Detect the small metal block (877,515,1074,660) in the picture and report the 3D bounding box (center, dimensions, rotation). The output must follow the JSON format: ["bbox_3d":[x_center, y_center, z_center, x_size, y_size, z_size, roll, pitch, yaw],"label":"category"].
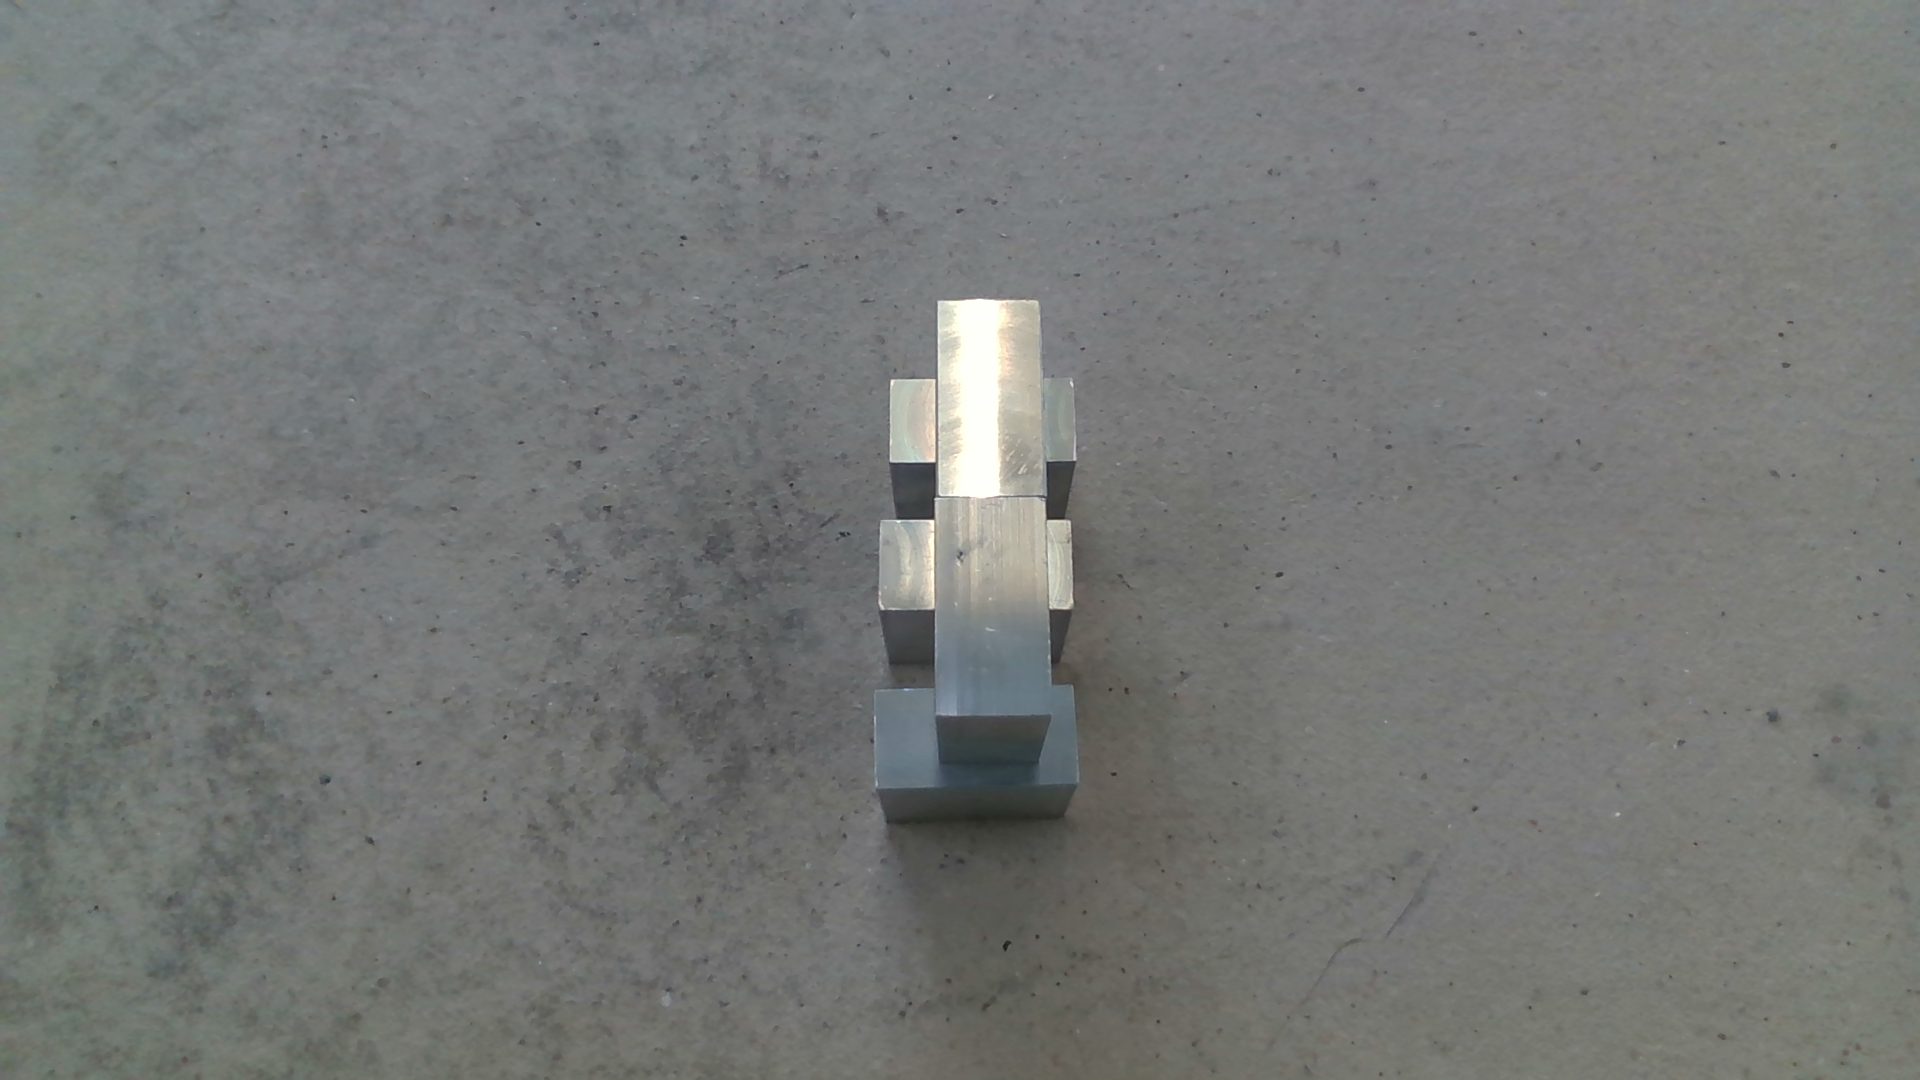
[{"bbox_3d":[0.003,0.015,0.378,0.050,0.050,0.025,-1,70,-1],"label":"small metal block"}]

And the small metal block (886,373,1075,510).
[{"bbox_3d":[0.005,-0.024,0.390,0.050,0.050,0.025,-1,70,-1],"label":"small metal block"}]

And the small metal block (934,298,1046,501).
[{"bbox_3d":[0.007,-0.025,0.339,0.025,0.050,0.050,0,70,0],"label":"small metal block"}]

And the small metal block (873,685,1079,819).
[{"bbox_3d":[0.003,0.057,0.362,0.050,0.050,0.025,-1,70,-1],"label":"small metal block"}]

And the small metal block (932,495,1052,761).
[{"bbox_3d":[0.007,0.022,0.321,0.025,0.050,0.050,0,70,0],"label":"small metal block"}]
